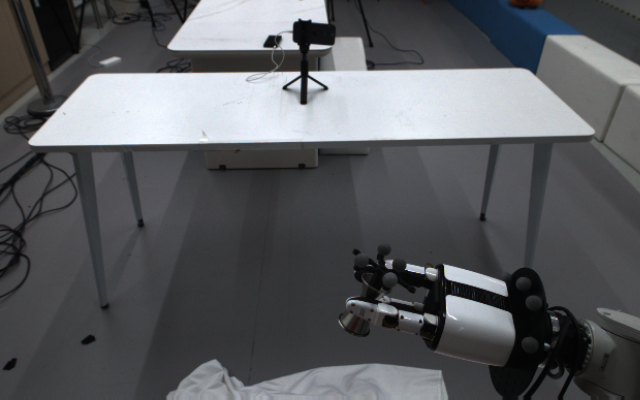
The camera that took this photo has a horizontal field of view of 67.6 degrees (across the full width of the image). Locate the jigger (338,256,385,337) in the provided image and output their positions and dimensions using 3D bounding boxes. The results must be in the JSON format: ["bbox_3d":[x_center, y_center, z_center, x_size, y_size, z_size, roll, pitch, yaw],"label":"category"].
[{"bbox_3d":[0.055,0.128,0.598,0.043,0.071,0.043,23,19,-8],"label":"jigger"}]
